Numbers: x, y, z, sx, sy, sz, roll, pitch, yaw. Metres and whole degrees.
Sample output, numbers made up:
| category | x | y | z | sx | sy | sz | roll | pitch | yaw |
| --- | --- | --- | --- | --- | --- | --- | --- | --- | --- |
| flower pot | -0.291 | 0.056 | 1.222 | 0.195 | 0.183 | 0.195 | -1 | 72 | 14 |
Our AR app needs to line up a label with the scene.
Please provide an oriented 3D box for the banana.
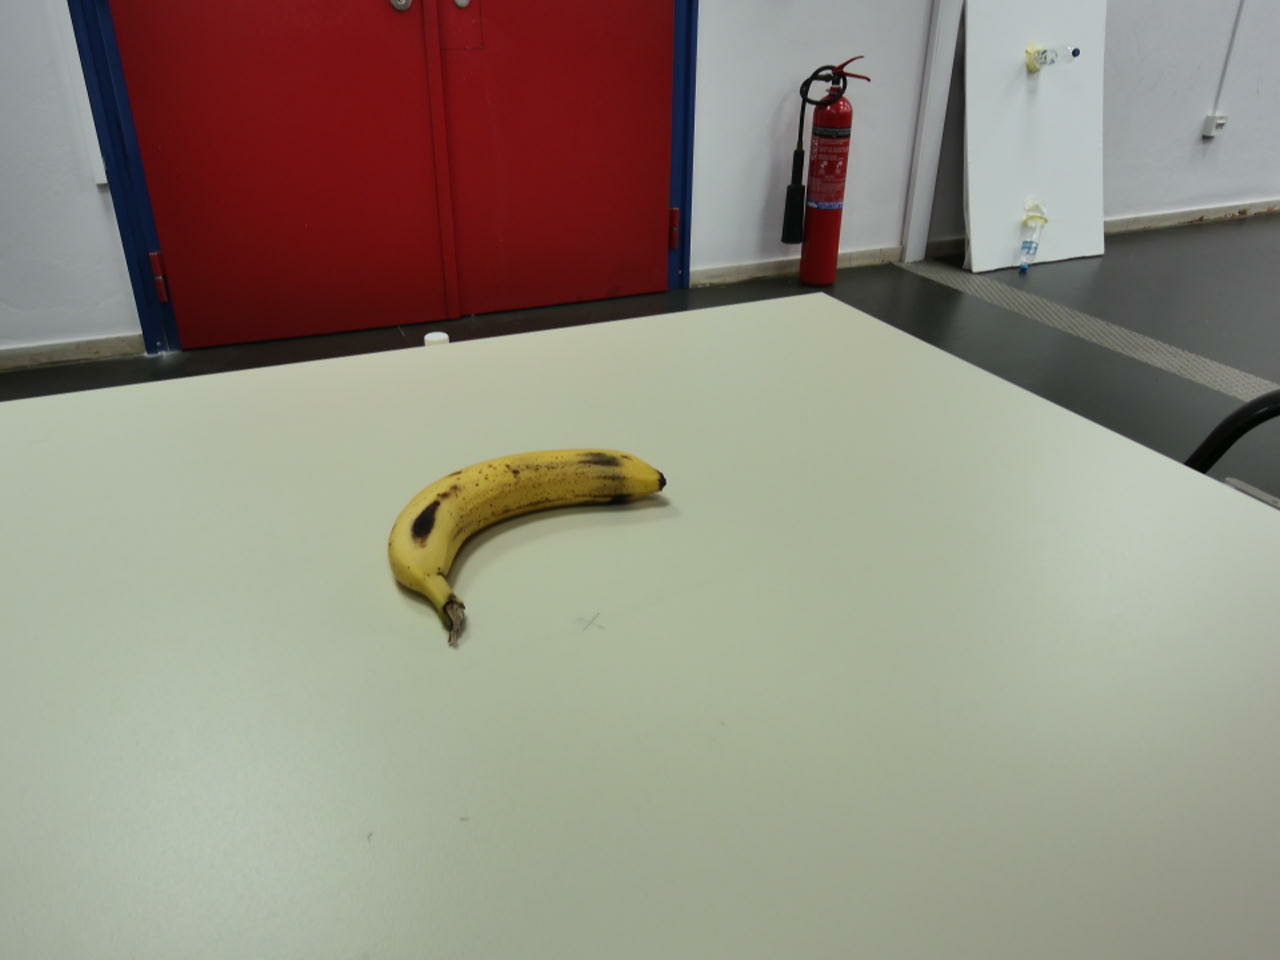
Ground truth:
| category | x | y | z | sx | sy | sz | roll | pitch | yaw |
| --- | --- | --- | --- | --- | --- | --- | --- | --- | --- |
| banana | -0.074 | 0.019 | 0.587 | 0.097 | 0.038 | 0.186 | 19 | 32 | 33 |
